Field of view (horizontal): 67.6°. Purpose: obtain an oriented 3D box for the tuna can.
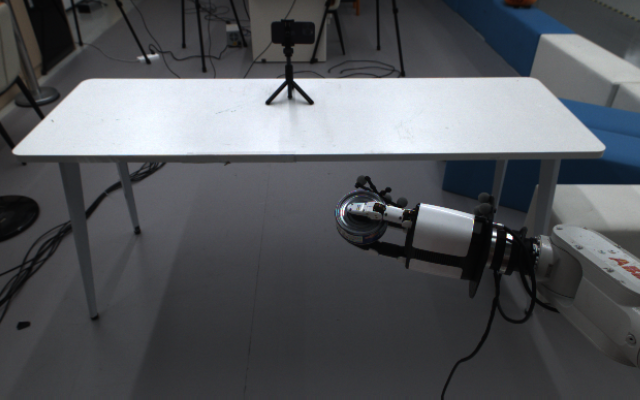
[{"bbox_3d":[0.070,0.033,0.776,0.085,0.034,0.085,-4,58,6],"label":"tuna can"}]
